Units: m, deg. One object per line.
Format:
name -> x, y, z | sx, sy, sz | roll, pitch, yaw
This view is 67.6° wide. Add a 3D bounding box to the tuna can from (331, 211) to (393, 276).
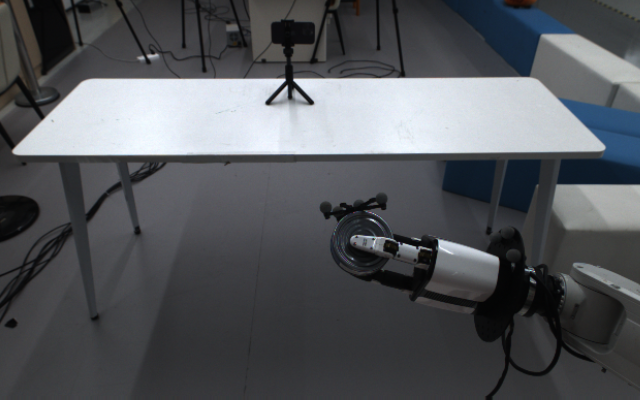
tuna can -> 0.062, 0.064, 0.659 | 0.085, 0.034, 0.085 | 0, 72, -1
